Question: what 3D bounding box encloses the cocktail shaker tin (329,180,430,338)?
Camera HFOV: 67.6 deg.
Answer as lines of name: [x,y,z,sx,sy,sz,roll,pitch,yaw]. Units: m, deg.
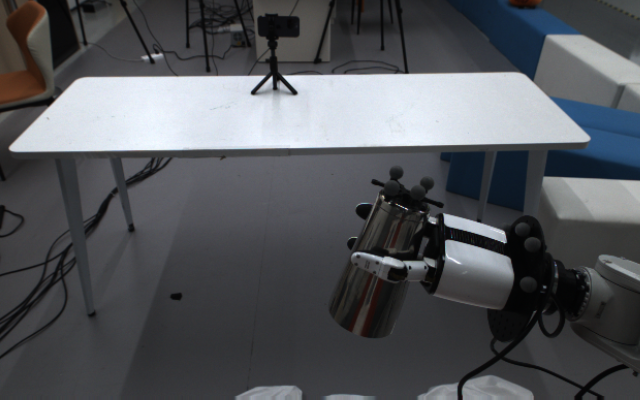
cocktail shaker tin: [0.080,0.075,0.607,0.093,0.170,0.093,15,22,-6]
